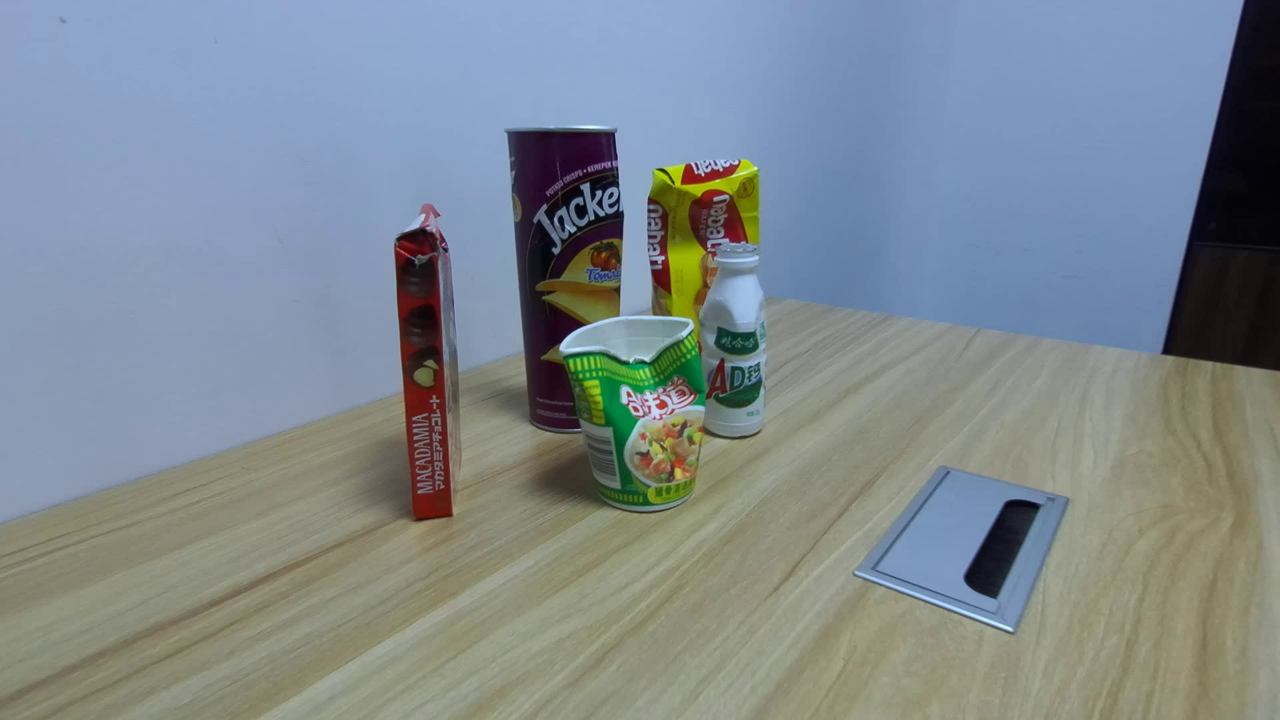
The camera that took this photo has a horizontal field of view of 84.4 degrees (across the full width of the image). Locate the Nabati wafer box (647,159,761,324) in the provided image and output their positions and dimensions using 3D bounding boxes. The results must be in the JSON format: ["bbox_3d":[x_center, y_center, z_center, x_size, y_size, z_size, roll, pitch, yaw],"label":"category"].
[{"bbox_3d":[0.059,-0.080,0.659,0.107,0.204,0.042,-9,20,-27],"label":"Nabati wafer box"}]

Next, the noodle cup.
[{"bbox_3d":[0.003,0.033,0.465,0.083,0.122,0.075,-10,11,3],"label":"noodle cup"}]

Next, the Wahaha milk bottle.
[{"bbox_3d":[0.071,-0.015,0.548,0.055,0.149,0.055,-1,20,1],"label":"Wahaha milk bottle"}]

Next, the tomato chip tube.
[{"bbox_3d":[-0.057,-0.065,0.571,0.076,0.235,0.077,-8,20,-19],"label":"tomato chip tube"}]

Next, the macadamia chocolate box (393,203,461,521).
[{"bbox_3d":[-0.134,-0.002,0.460,0.027,0.187,0.102,0,19,-11],"label":"macadamia chocolate box"}]
